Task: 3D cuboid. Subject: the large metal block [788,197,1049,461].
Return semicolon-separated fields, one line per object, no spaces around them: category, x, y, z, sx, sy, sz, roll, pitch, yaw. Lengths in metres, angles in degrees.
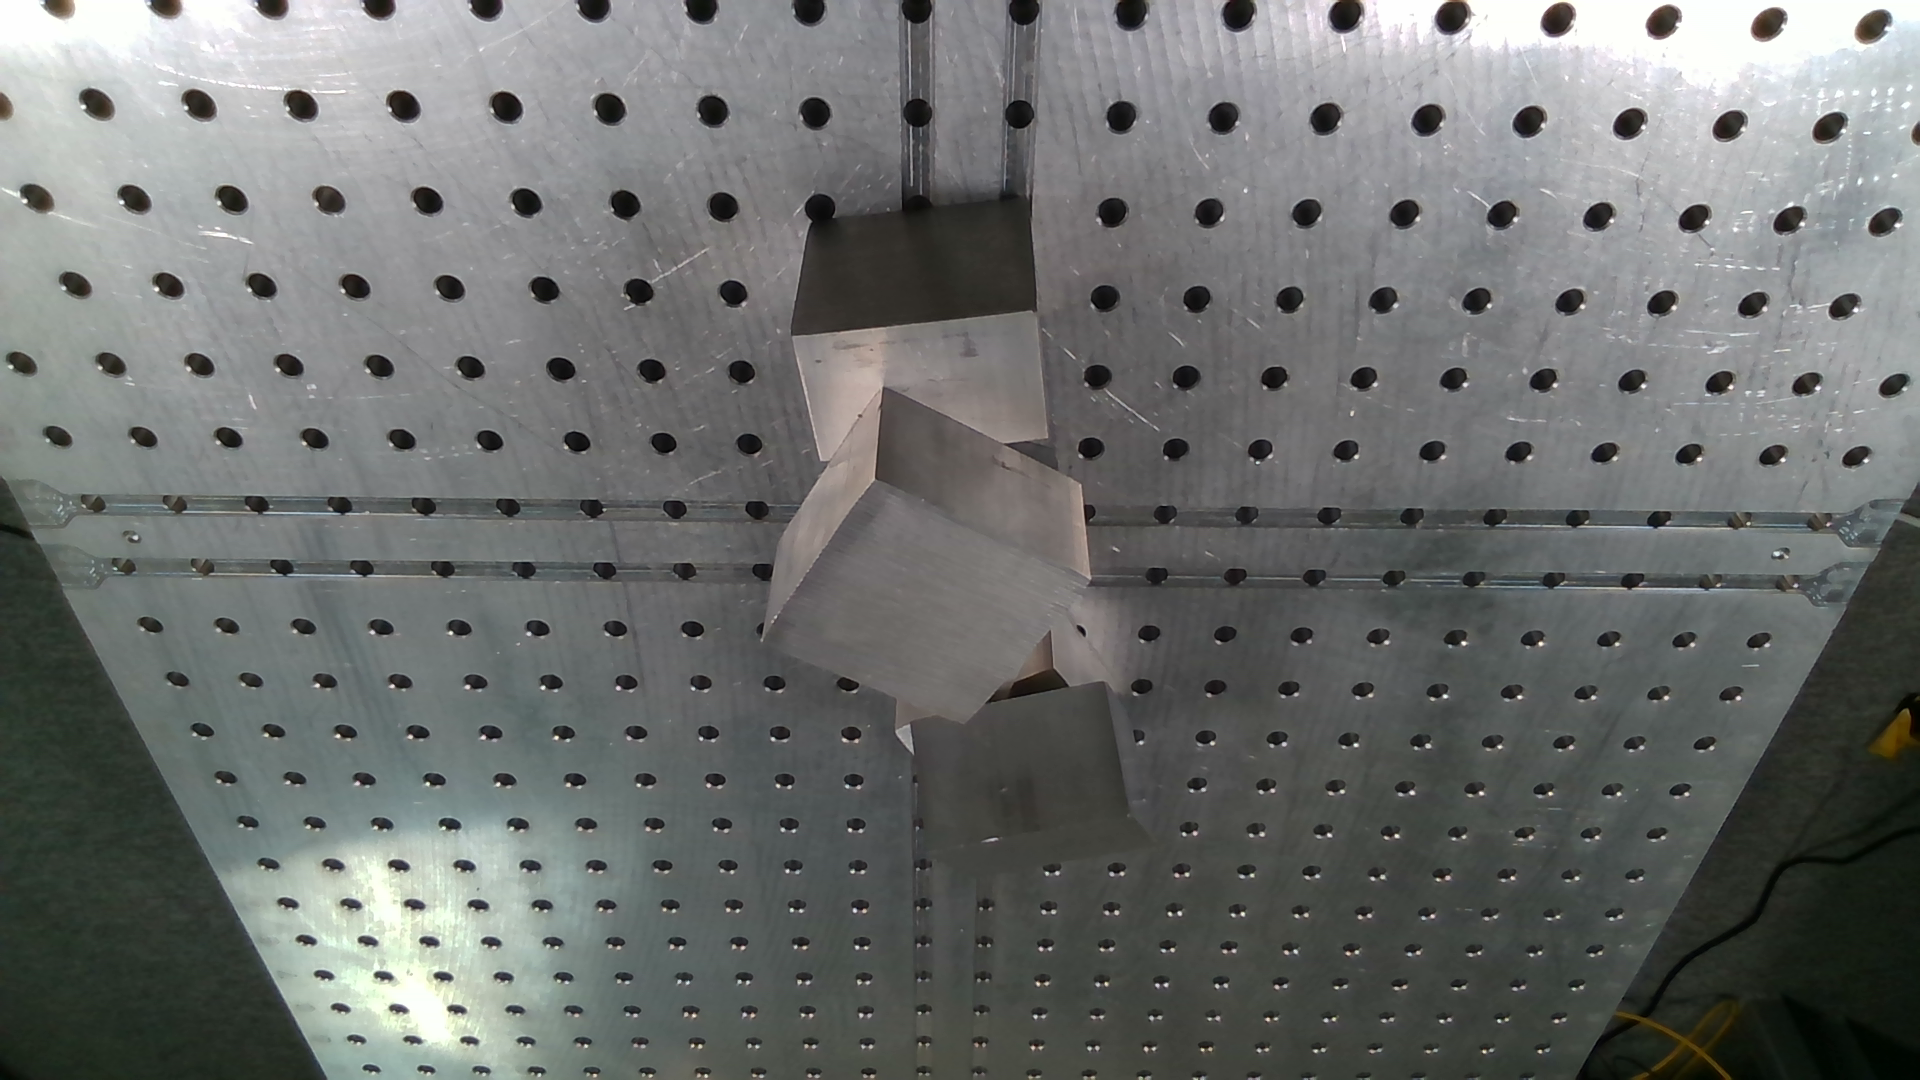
large metal block;-0.012;-0.075;0.483;0.080;0.080;0.050;-5;130;4

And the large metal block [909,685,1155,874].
large metal block;0.032;0.100;0.561;0.080;0.050;0.080;-12;158;10

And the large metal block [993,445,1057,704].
large metal block;0.003;0.011;0.555;0.050;0.080;0.080;15;128;-12

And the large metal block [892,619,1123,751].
large metal block;0.025;0.078;0.632;0.080;0.050;0.080;-24;126;19

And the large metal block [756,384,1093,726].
large metal block;-0.013;0.007;0.466;0.080;0.050;0.080;25;125;-19
